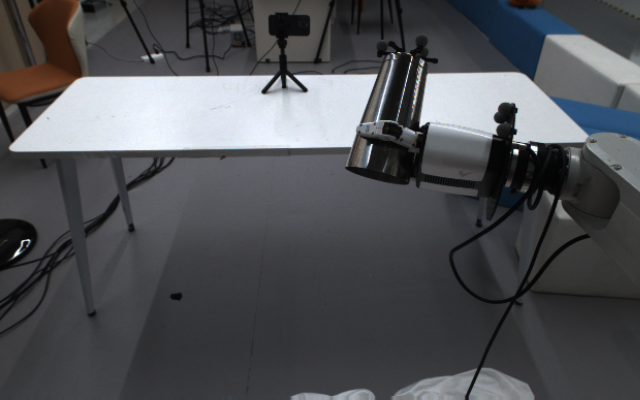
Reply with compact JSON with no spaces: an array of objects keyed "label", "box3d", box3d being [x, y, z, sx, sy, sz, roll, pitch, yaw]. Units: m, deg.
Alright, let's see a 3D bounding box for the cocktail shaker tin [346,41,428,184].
[{"label":"cocktail shaker tin","box3d":[0.101,-0.117,0.688,0.093,0.170,0.093,15,-4,1]}]
